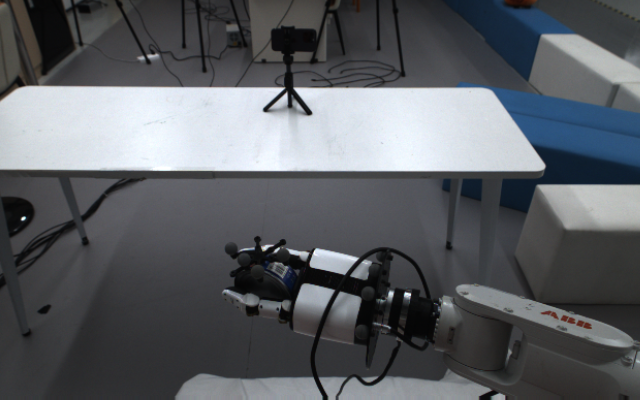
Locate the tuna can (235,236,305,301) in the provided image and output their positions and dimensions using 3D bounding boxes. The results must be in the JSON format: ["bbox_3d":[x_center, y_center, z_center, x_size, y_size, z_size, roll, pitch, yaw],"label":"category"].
[{"bbox_3d":[-0.070,0.115,0.667,0.085,0.085,0.034,14,40,16],"label":"tuna can"}]
